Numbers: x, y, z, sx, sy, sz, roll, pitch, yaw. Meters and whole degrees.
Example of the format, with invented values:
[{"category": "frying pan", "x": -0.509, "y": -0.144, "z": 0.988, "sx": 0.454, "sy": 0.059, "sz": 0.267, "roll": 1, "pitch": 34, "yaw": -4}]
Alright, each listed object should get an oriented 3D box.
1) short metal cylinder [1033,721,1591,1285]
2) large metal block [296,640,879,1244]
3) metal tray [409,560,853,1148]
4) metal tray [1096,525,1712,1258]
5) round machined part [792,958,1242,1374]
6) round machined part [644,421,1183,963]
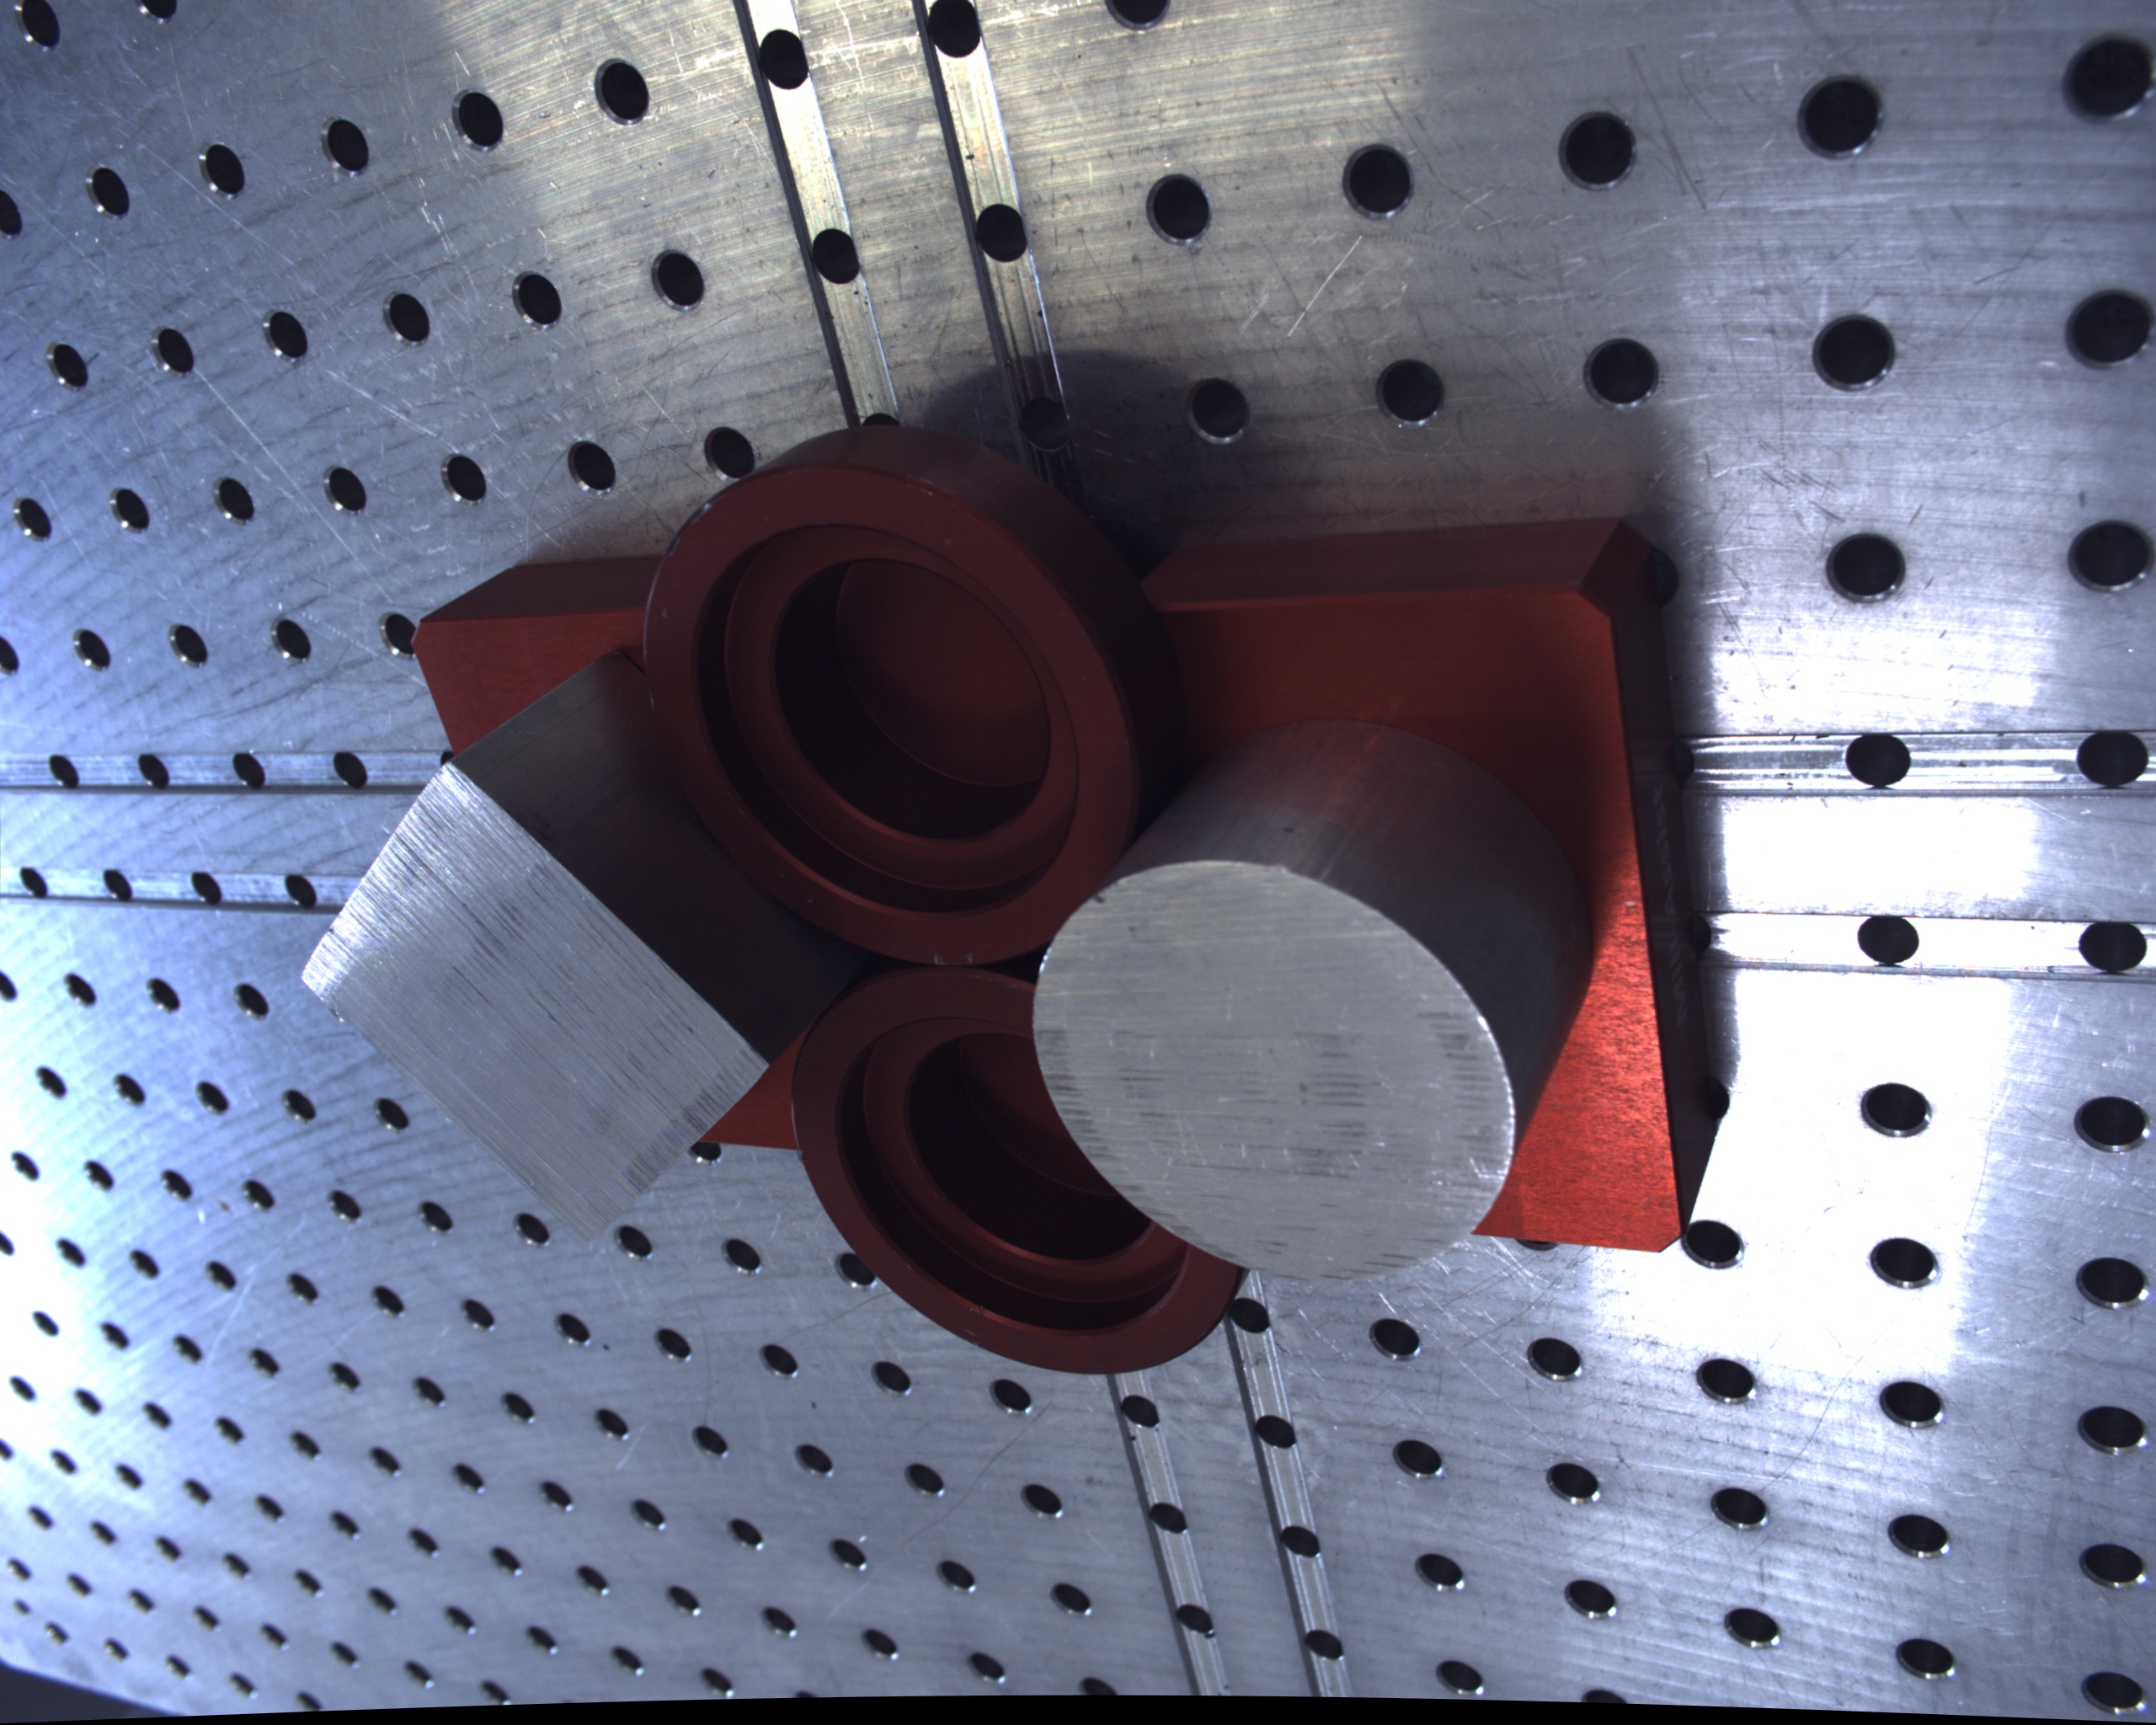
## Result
[{"category": "short metal cylinder", "x": 0.040, "y": 0.023, "z": 0.348, "sx": 0.080, "sy": 0.050, "sz": 0.079, "roll": 13, "pitch": 124, "yaw": 21}, {"category": "large metal block", "x": -0.096, "y": 0.017, "z": 0.417, "sx": 0.080, "sy": 0.050, "sz": 0.080, "roll": 45, "pitch": 129, "yaw": -3}, {"category": "metal tray", "x": -0.080, "y": 0.000, "z": 0.450, "sx": 0.090, "sy": 0.030, "sz": 0.129, "roll": 0, "pitch": 119, "yaw": 27}, {"category": "metal tray", "x": 0.061, "y": 0.007, "z": 0.378, "sx": 0.090, "sy": 0.030, "sz": 0.129, "roll": 1, "pitch": 119, "yaw": 28}, {"category": "round machined part", "x": -0.005, "y": 0.052, "z": 0.423, "sx": 0.098, "sy": 0.042, "sz": 0.097, "roll": 13, "pitch": 124, "yaw": 21}, {"category": "round machined part", "x": -0.026, "y": -0.034, "z": 0.381, "sx": 0.098, "sy": 0.042, "sz": 0.097, "roll": 13, "pitch": 124, "yaw": 21}]
